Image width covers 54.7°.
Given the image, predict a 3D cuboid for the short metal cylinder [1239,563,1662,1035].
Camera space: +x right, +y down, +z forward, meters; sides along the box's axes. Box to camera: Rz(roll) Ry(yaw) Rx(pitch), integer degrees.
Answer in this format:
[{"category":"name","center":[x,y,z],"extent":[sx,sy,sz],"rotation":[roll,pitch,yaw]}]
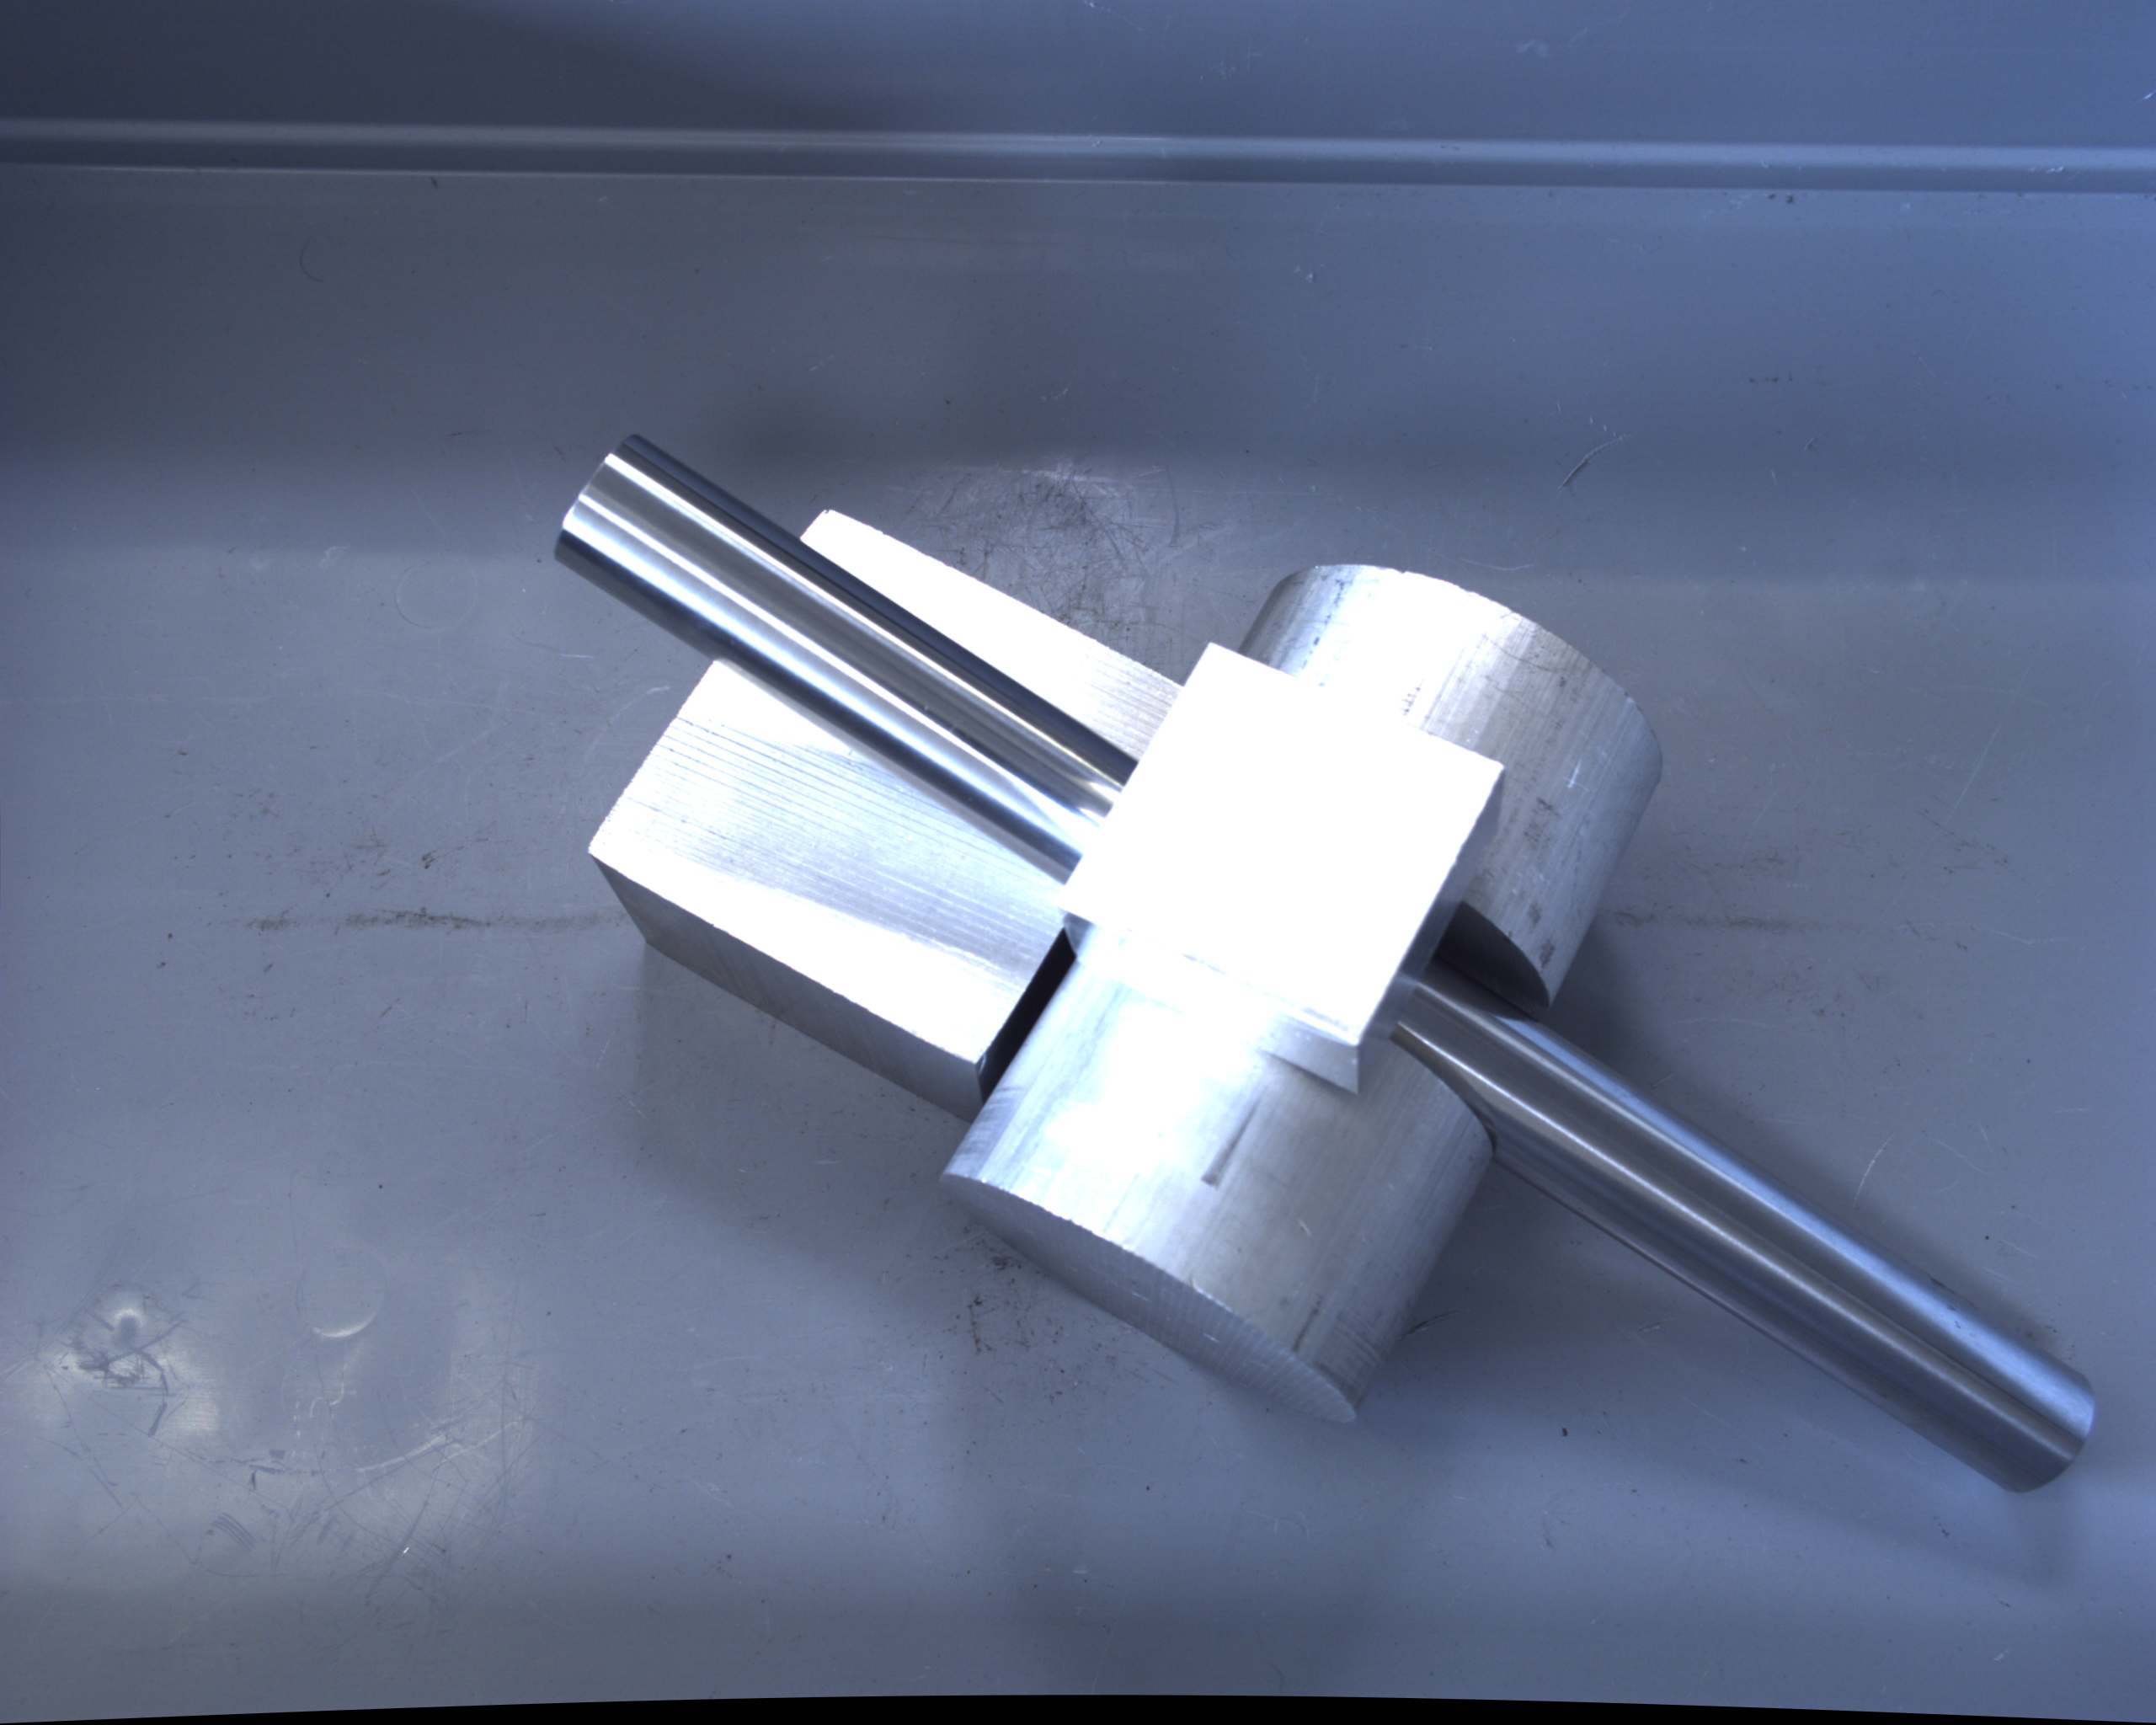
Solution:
[{"category":"short metal cylinder","center":[0.059,-0.010,0.384],"extent":[0.080,0.080,0.050],"rotation":[26,72,9]}]

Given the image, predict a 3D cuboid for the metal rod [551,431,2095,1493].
[{"category":"metal rod","center":[0.046,0.020,0.359],"extent":[0.301,0.025,0.025],"rotation":[33,73,-5]}]

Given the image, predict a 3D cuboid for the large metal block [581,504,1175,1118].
[{"category":"large metal block","center":[-0.032,-0.008,0.395],"extent":[0.080,0.050,0.080],"rotation":[28,72,9]}]

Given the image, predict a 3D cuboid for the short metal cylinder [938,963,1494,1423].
[{"category":"short metal cylinder","center":[0.024,0.054,0.359],"extent":[0.080,0.080,0.050],"rotation":[28,73,10]}]

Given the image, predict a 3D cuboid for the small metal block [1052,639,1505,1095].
[{"category":"small metal block","center":[0.032,0.000,0.324],"extent":[0.050,0.025,0.050],"rotation":[25,72,17]}]
